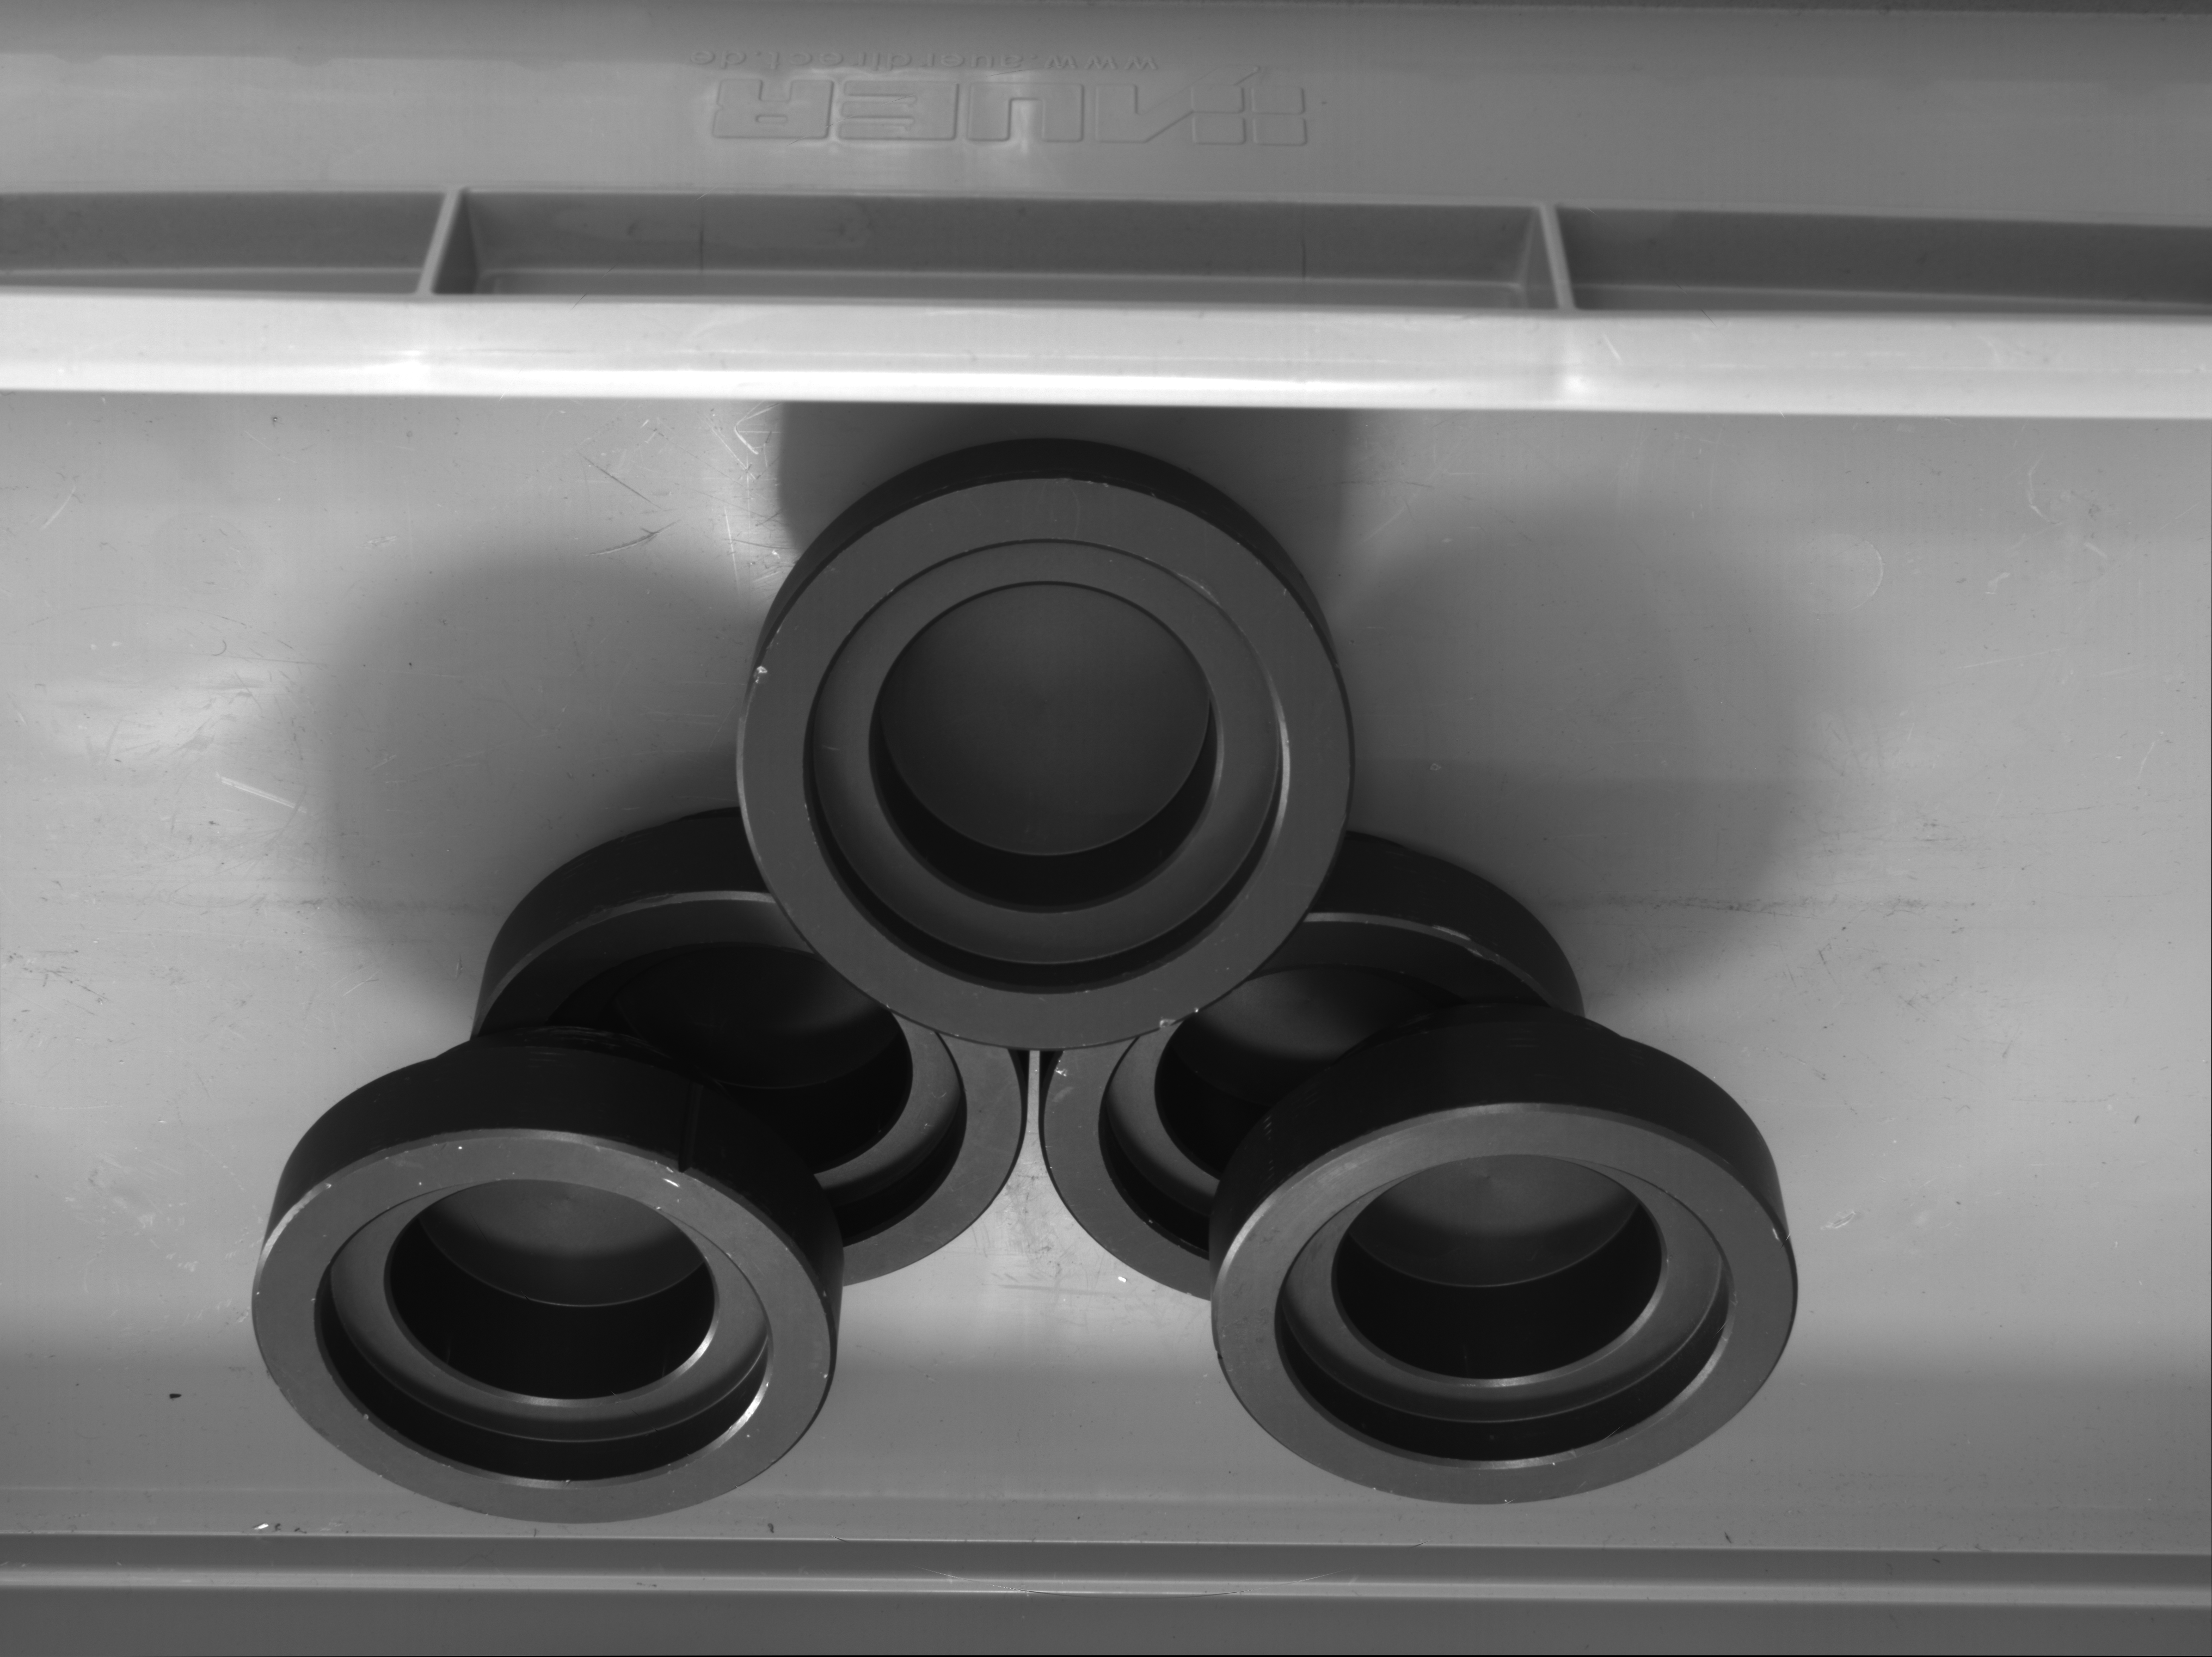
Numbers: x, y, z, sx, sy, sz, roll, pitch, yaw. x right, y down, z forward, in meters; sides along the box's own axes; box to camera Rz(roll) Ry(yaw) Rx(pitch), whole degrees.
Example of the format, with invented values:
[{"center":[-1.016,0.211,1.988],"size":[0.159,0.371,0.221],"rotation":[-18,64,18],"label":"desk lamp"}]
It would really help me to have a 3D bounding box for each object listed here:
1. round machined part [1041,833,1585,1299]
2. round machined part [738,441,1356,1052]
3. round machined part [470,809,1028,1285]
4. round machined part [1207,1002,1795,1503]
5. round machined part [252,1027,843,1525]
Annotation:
[{"center":[0.037,0.039,0.660],"size":[0.098,0.042,0.098],"rotation":[0,130,0],"label":"round machined part"},{"center":[-0.010,-0.016,0.600],"size":[0.098,0.042,0.098],"rotation":[-1,112,-1],"label":"round machined part"},{"center":[-0.063,0.035,0.656],"size":[0.098,0.042,0.098],"rotation":[0,130,0],"label":"round machined part"},{"center":[0.066,0.068,0.630],"size":[0.098,0.042,0.098],"rotation":[0,130,0],"label":"round machined part"},{"center":[-0.094,0.073,0.633],"size":[0.098,0.042,0.098],"rotation":[0,130,0],"label":"round machined part"}]
